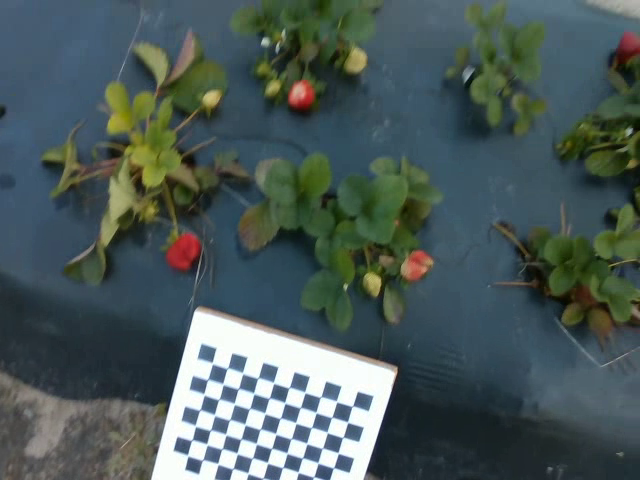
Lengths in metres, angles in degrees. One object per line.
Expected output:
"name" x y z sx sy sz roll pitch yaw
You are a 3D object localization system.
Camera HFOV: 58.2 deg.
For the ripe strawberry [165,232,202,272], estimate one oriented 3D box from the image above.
"ripe strawberry" -0.053 0.007 0.220 0.013 0.017 0.015 31 11 -42
